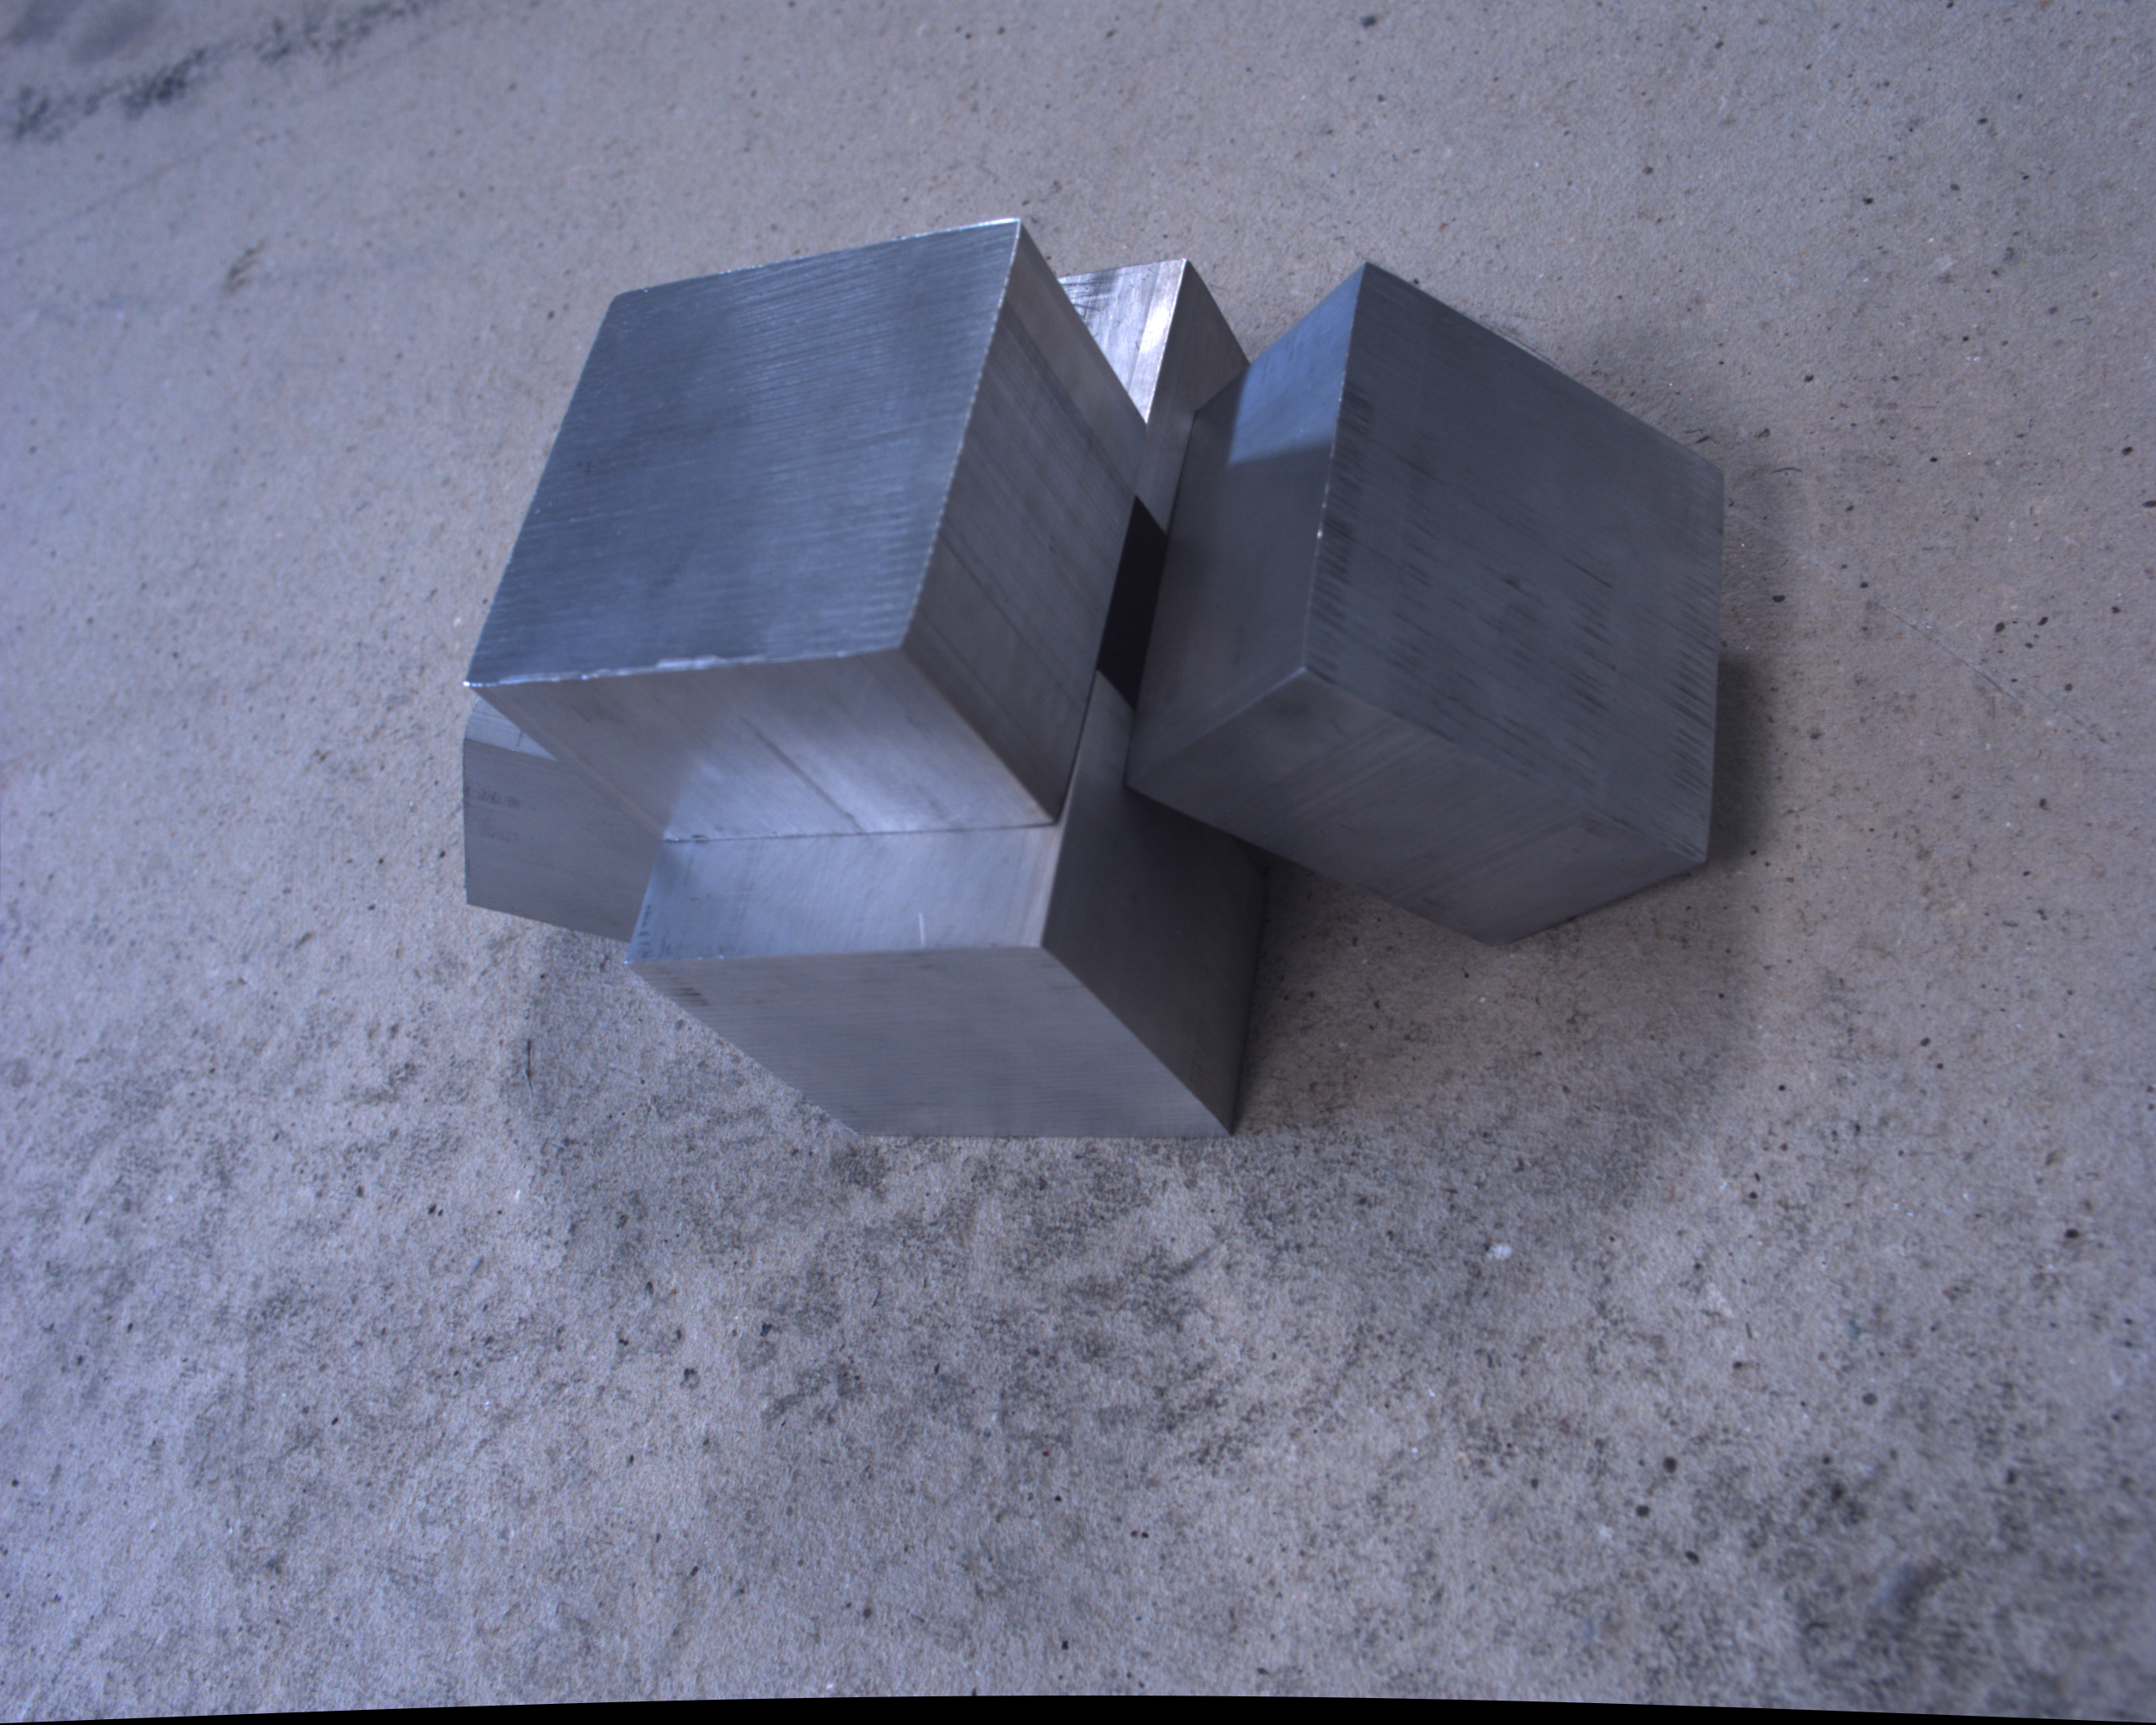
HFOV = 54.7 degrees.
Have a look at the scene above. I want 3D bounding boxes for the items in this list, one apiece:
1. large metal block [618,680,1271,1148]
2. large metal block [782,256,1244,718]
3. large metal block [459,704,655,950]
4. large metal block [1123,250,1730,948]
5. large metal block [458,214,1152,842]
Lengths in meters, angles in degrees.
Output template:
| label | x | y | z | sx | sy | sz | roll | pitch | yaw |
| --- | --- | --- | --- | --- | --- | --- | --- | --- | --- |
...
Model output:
| label | x | y | z | sx | sy | sz | roll | pitch | yaw |
| --- | --- | --- | --- | --- | --- | --- | --- | --- | --- |
| large metal block | -0.020 | 0.013 | 0.375 | 0.080 | 0.080 | 0.050 | -4 | 60 | 27 |
| large metal block | -0.003 | -0.068 | 0.414 | 0.080 | 0.080 | 0.050 | -2 | 61 | 27 |
| large metal block | -0.090 | -0.035 | 0.430 | 0.050 | 0.080 | 0.080 | 16 | 63 | -9 |
| large metal block | 0.061 | -0.042 | 0.354 | 0.050 | 0.080 | 0.080 | -32 | 41 | 54 |
| large metal block | -0.041 | -0.051 | 0.340 | 0.080 | 0.050 | 0.080 | -2 | 61 | 27 |
